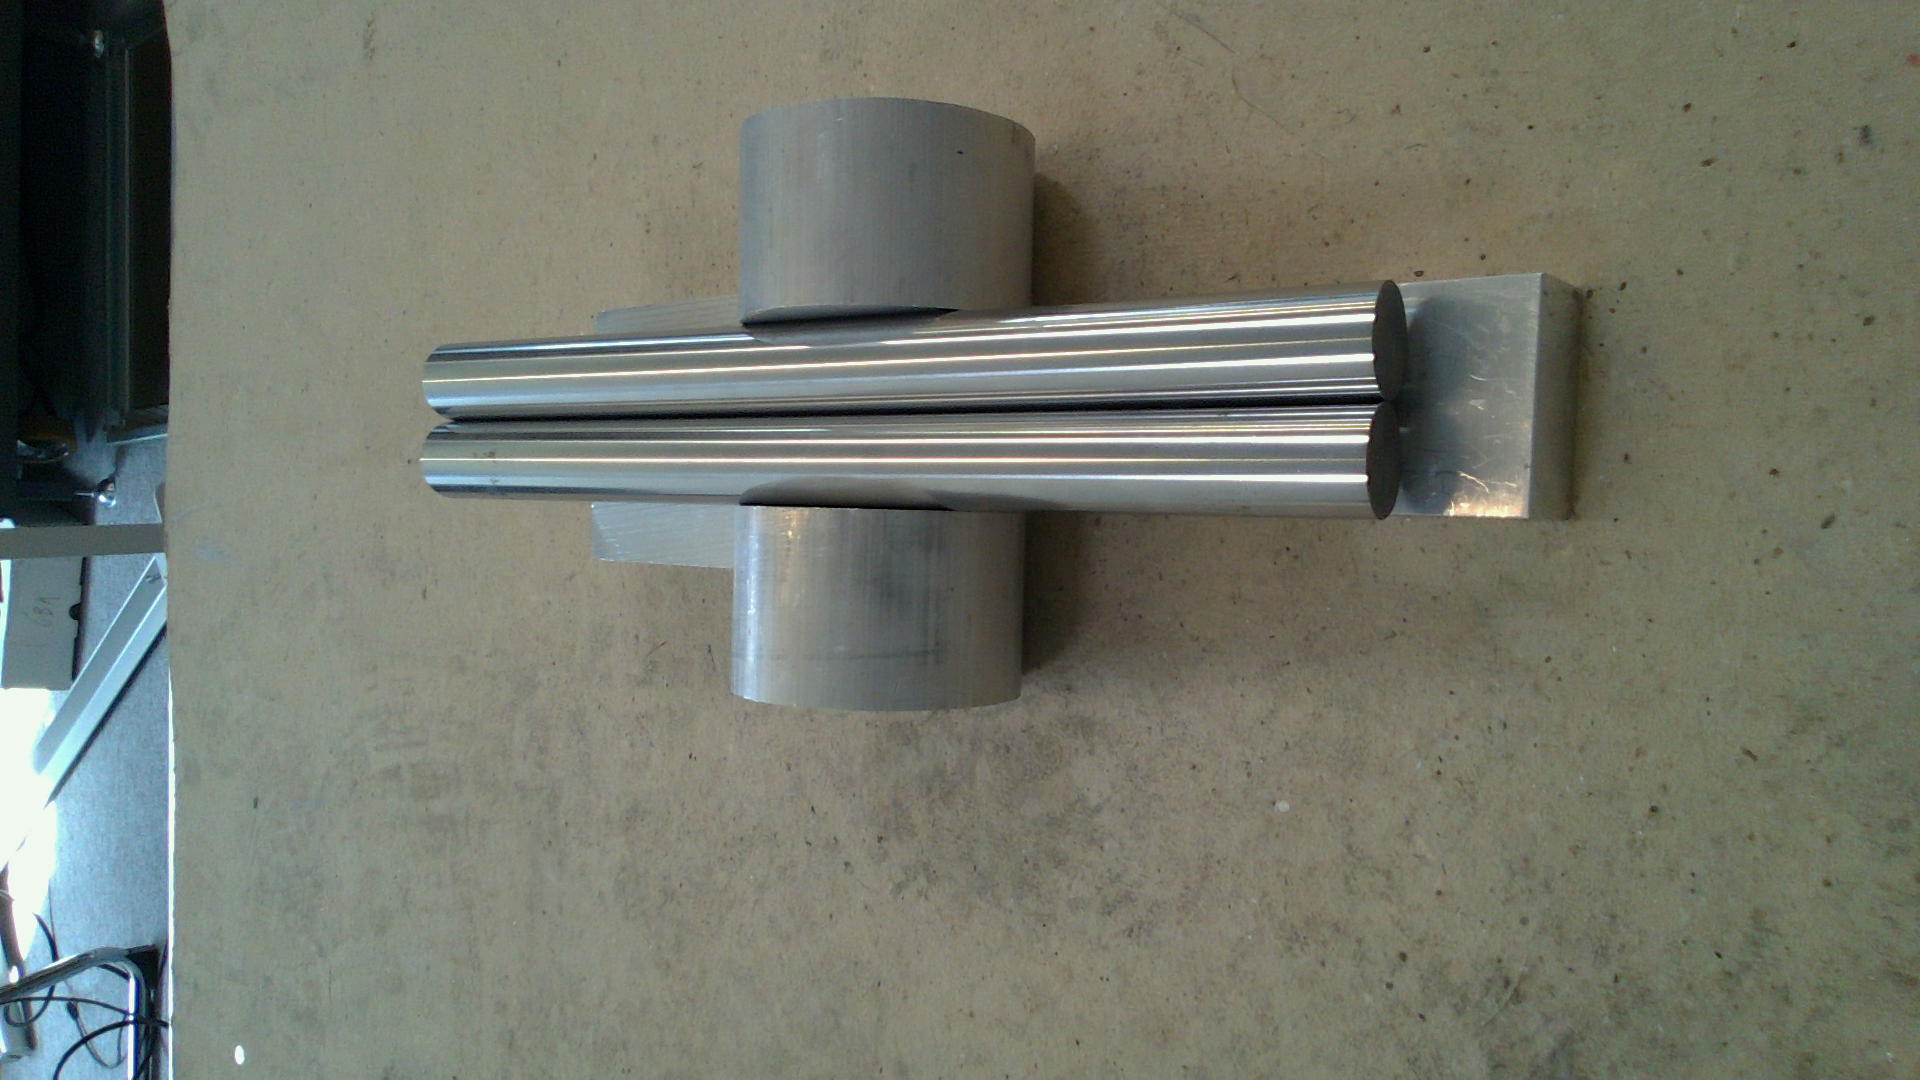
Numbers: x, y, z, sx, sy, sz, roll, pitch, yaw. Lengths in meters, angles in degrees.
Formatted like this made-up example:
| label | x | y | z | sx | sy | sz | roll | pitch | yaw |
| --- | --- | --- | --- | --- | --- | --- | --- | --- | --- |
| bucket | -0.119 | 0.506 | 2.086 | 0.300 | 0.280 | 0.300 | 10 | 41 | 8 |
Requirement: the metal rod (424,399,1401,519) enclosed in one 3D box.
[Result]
| label | x | y | z | sx | sy | sz | roll | pitch | yaw |
| --- | --- | --- | --- | --- | --- | --- | --- | --- | --- |
| metal rod | -0.037 | -0.022 | 0.368 | 0.299 | 0.025 | 0.025 | 2 | 91 | 32 |

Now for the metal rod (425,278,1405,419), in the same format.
| label | x | y | z | sx | sy | sz | roll | pitch | yaw |
| --- | --- | --- | --- | --- | --- | --- | --- | --- | --- |
| metal rod | -0.037 | -0.047 | 0.367 | 0.299 | 0.025 | 0.025 | 2 | 91 | 32 |

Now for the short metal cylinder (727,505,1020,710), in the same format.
| label | x | y | z | sx | sy | sz | roll | pitch | yaw |
| --- | --- | --- | --- | --- | --- | --- | --- | --- | --- |
| short metal cylinder | -0.023 | 0.016 | 0.379 | 0.080 | 0.080 | 0.050 | 2 | 91 | 40 |

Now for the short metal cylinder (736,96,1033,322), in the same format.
| label | x | y | z | sx | sy | sz | roll | pitch | yaw |
| --- | --- | --- | --- | --- | --- | --- | --- | --- | --- |
| short metal cylinder | -0.020 | -0.084 | 0.376 | 0.080 | 0.080 | 0.050 | 2 | 91 | 40 |

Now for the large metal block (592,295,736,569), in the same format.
| label | x | y | z | sx | sy | sz | roll | pitch | yaw |
| --- | --- | --- | --- | --- | --- | --- | --- | --- | --- |
| large metal block | -0.072 | -0.032 | 0.440 | 0.080 | 0.050 | 0.080 | 2 | 92 | 40 |

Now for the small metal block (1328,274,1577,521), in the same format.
| label | x | y | z | sx | sy | sz | roll | pitch | yaw |
| --- | --- | --- | --- | --- | --- | --- | --- | --- | --- |
| small metal block | 0.106 | -0.030 | 0.306 | 0.050 | 0.025 | 0.050 | 4 | 93 | 40 |
